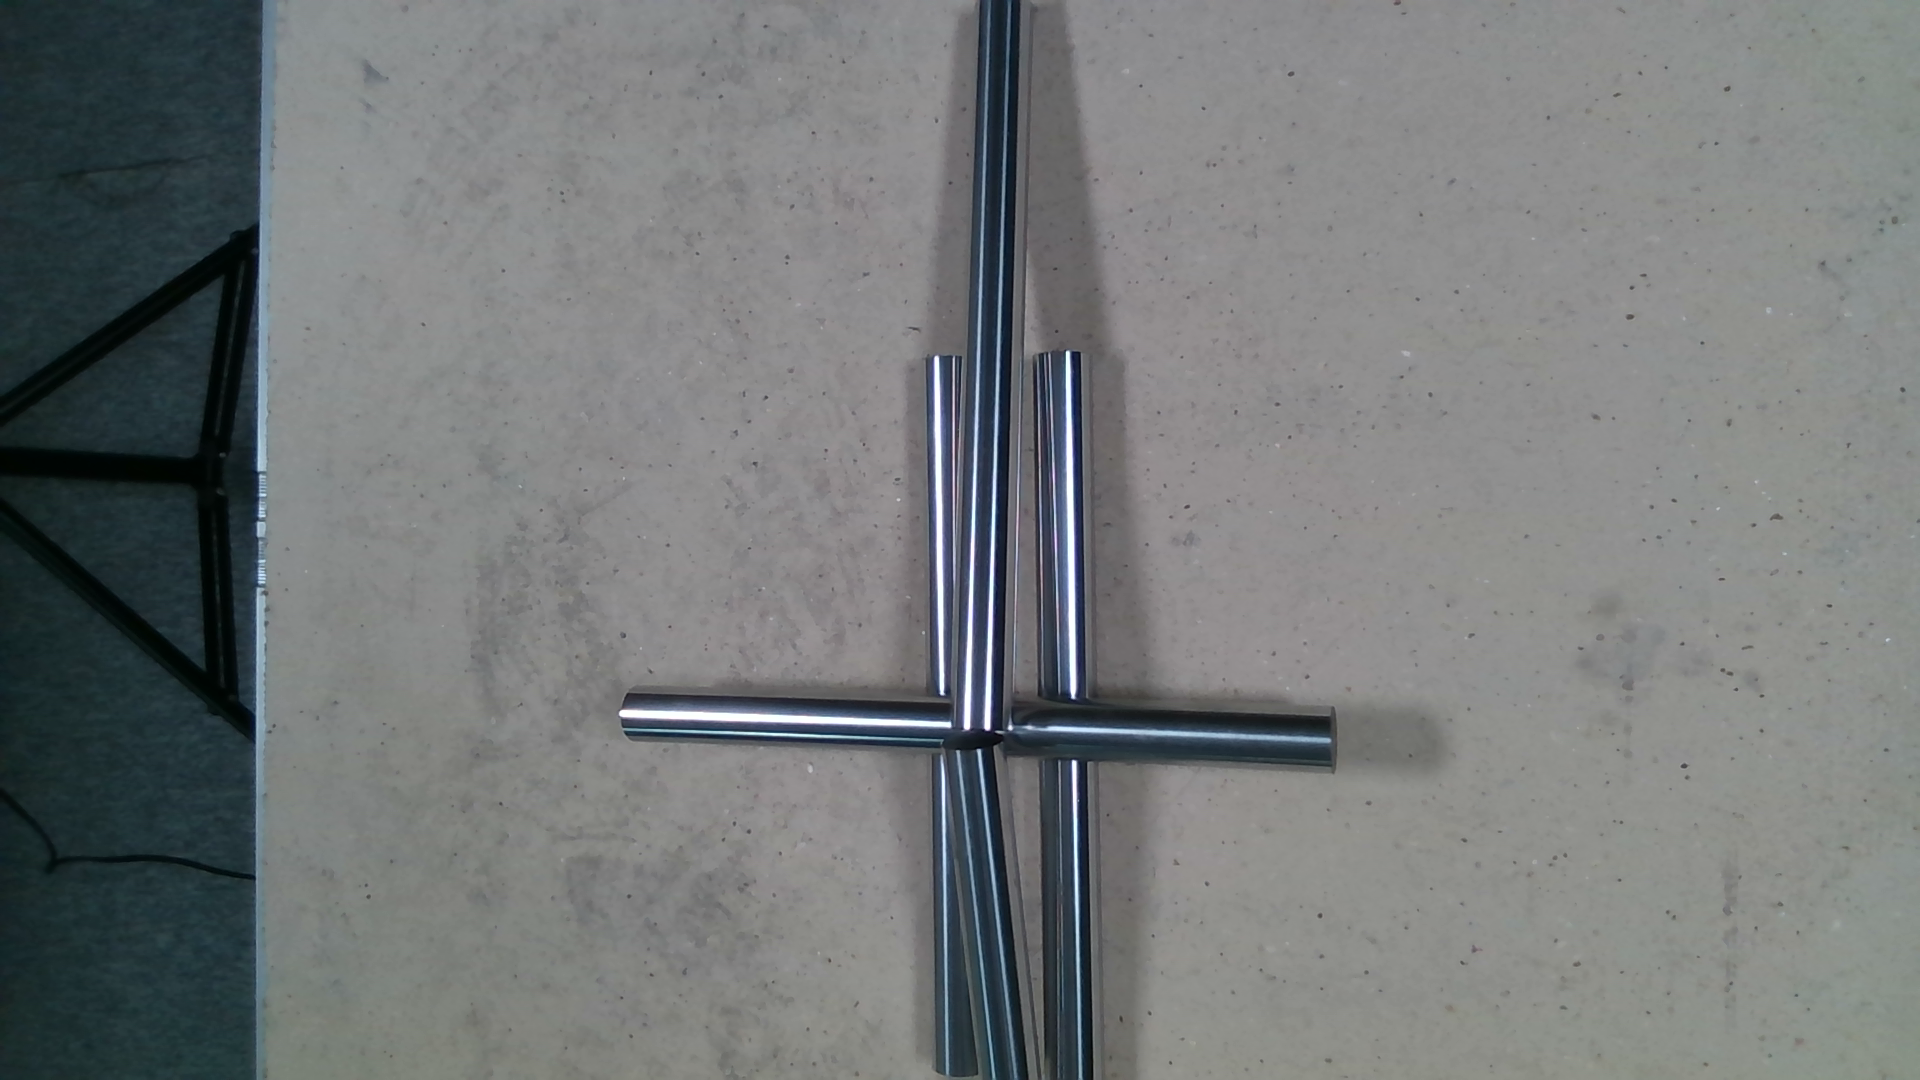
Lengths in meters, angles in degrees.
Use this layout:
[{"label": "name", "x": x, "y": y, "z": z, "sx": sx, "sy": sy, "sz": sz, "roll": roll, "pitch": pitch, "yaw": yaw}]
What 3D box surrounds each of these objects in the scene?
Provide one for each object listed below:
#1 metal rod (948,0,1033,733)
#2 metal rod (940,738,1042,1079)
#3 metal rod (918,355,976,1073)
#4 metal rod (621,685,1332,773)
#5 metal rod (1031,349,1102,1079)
[{"label": "metal rod", "x": 0.013, "y": -0.074, "z": 0.553, "sx": 0.025, "sy": 0.025, "sz": 0.300, "roll": -1, "pitch": 80, "yaw": 20}, {"label": "metal rod", "x": 0.021, "y": 0.224, "z": 0.554, "sx": 0.025, "sy": 0.025, "sz": 0.300, "roll": -3, "pitch": 99, "yaw": 20}, {"label": "metal rod", "x": -0.003, "y": 0.073, "z": 0.587, "sx": 0.025, "sy": 0.025, "sz": 0.300, "roll": -1, "pitch": 90, "yaw": 20}, {"label": "metal rod", "x": -0.003, "y": 0.075, "z": 0.561, "sx": 0.300, "sy": 0.025, "sz": 0.025, "roll": -1, "pitch": 90, "yaw": 20}, {"label": "metal rod", "x": 0.044, "y": 0.073, "z": 0.569, "sx": 0.025, "sy": 0.025, "sz": 0.300, "roll": -1, "pitch": 90, "yaw": 20}]
